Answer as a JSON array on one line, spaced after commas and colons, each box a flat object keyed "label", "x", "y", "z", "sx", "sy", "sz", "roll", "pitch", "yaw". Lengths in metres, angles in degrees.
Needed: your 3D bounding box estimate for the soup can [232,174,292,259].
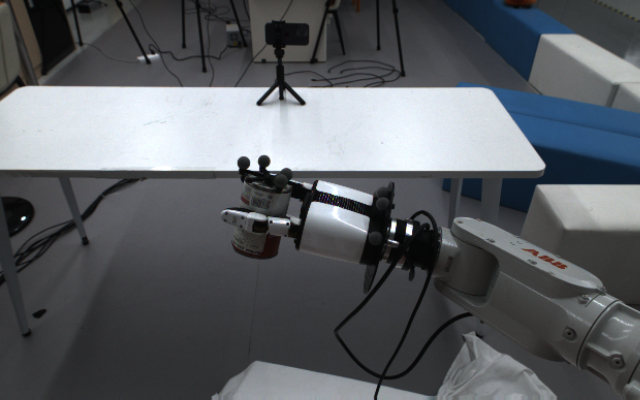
[{"label": "soup can", "x": -0.079, "y": 0.023, "z": 0.667, "sx": 0.067, "sy": 0.101, "sz": 0.067, "roll": 13, "pitch": 18, "yaw": -4}]
